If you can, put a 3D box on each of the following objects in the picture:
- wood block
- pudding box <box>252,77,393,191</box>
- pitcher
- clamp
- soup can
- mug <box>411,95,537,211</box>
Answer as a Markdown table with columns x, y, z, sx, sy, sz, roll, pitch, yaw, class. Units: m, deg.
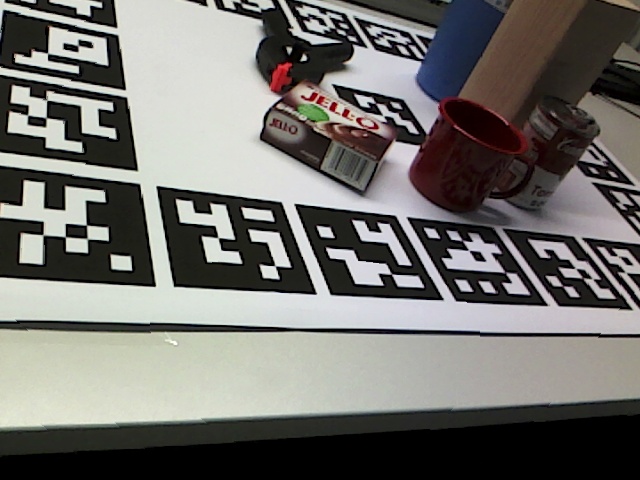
| x | y | z | sx | sy | sz | roll | pitch | yaw | class |
| --- | --- | --- | --- | --- | --- | --- | --- | --- | --- |
| 0.242 | -0.192 | 0.689 | 0.089 | 0.206 | 0.091 | 5 | 41 | -31 | wood block |
| 0.004 | -0.103 | 0.589 | 0.114 | 0.038 | 0.090 | 28 | 40 | 4 | pudding box |
| 0.235 | -0.285 | 0.772 | 0.188 | 0.242 | 0.134 | 2 | 41 | -25 | pitcher |
| -0.025 | -0.209 | 0.710 | 0.121 | 0.036 | 0.165 | 29 | 37 | -8 | clamp |
| 0.233 | -0.093 | 0.652 | 0.067 | 0.102 | 0.068 | 16 | 41 | -14 | soup can |
| 0.152 | -0.077 | 0.605 | 0.117 | 0.081 | 0.093 | 27 | 34 | 3 | mug |
